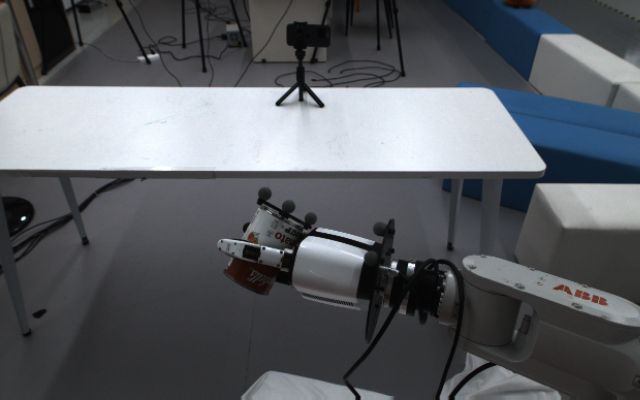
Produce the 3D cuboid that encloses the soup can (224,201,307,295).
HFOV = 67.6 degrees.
[{"bbox_3d":[-0.073,0.066,0.641,0.067,0.101,0.067,28,-3,2],"label":"soup can"}]
